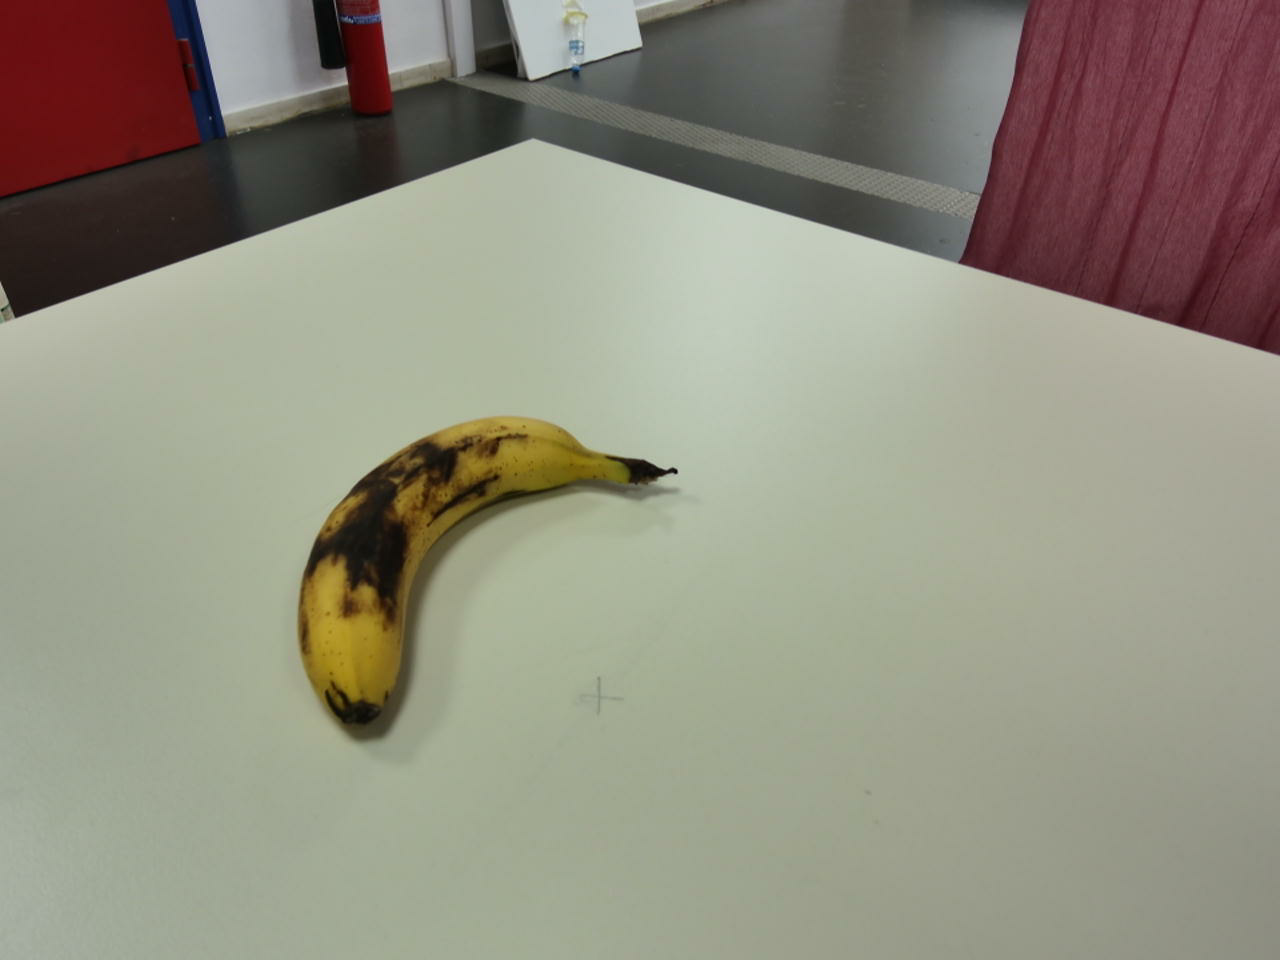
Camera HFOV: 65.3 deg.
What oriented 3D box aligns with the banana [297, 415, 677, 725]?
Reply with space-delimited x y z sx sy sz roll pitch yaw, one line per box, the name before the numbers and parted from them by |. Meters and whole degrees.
banana | -0.077 0.018 0.413 0.094 0.039 0.187 24 41 28
